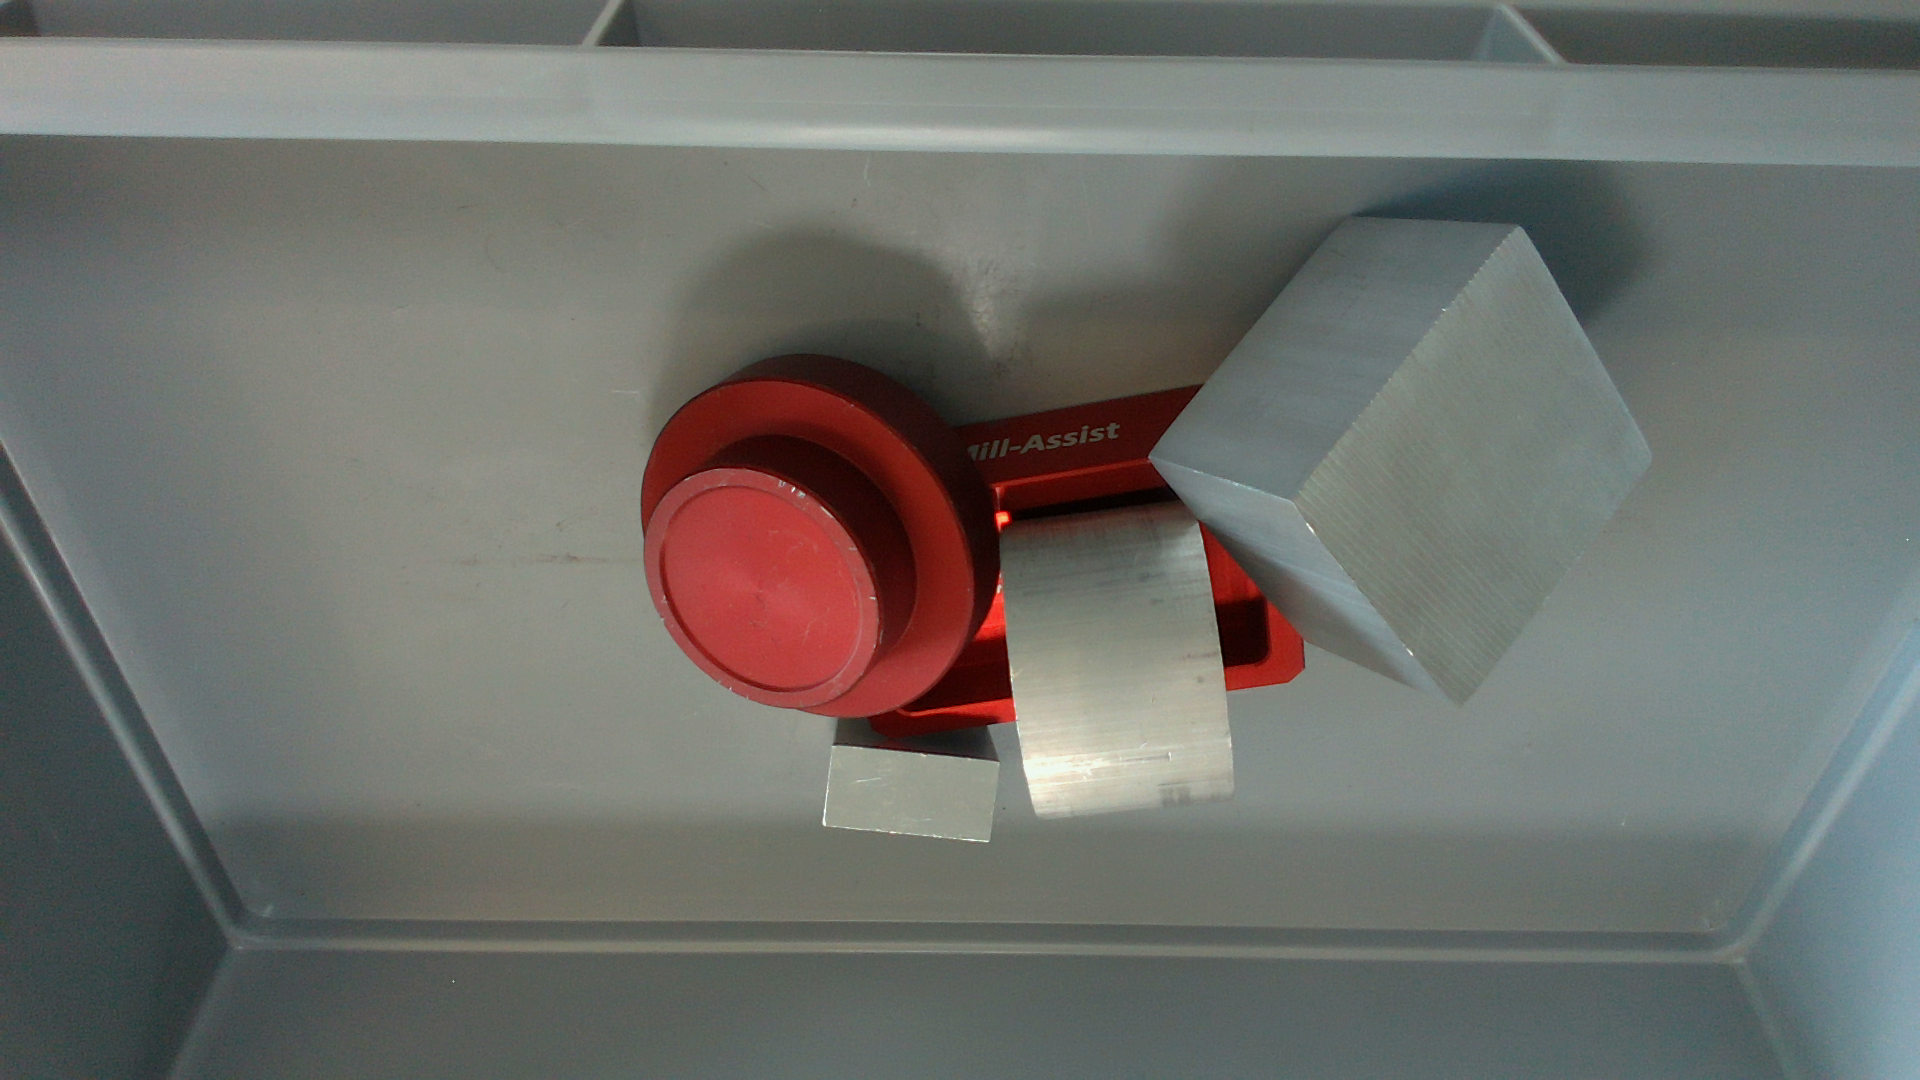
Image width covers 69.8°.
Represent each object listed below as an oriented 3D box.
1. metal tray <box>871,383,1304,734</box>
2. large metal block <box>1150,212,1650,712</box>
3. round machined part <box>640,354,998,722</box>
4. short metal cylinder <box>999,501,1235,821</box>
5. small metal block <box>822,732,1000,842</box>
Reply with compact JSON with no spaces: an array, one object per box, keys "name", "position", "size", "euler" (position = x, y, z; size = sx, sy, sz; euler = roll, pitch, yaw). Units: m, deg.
[{"name":"metal tray","position":[0.029,0.007,0.394],"size":[0.130,0.030,0.090],"euler":[-9,130,7]},{"name":"large metal block","position":[0.107,-0.020,0.331],"size":[0.080,0.050,0.080],"euler":[-51,121,-8]},{"name":"round machined part","position":[-0.042,0.005,0.357],"size":[0.098,0.042,0.098],"euler":[10,117,21]},{"name":"short metal cylinder","position":[0.041,0.032,0.364],"size":[0.050,0.080,0.080],"euler":[-7,130,5]},{"name":"small metal block","position":[-0.016,0.072,0.431],"size":[0.050,0.050,0.025],"euler":[6,96,-4]}]
